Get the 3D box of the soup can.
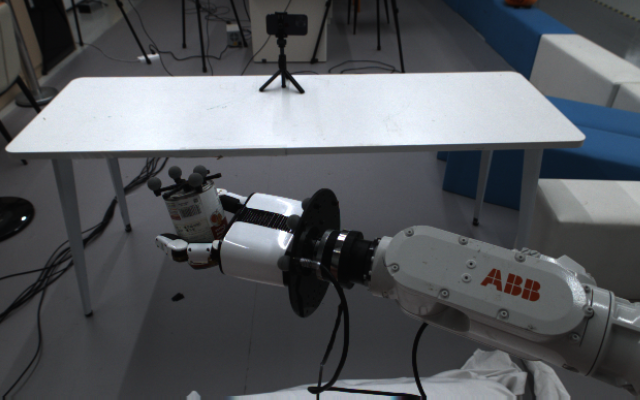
[{"bbox_3d":[-0.154,0.031,0.631,0.067,0.101,0.067,-13,19,5],"label":"soup can"}]
